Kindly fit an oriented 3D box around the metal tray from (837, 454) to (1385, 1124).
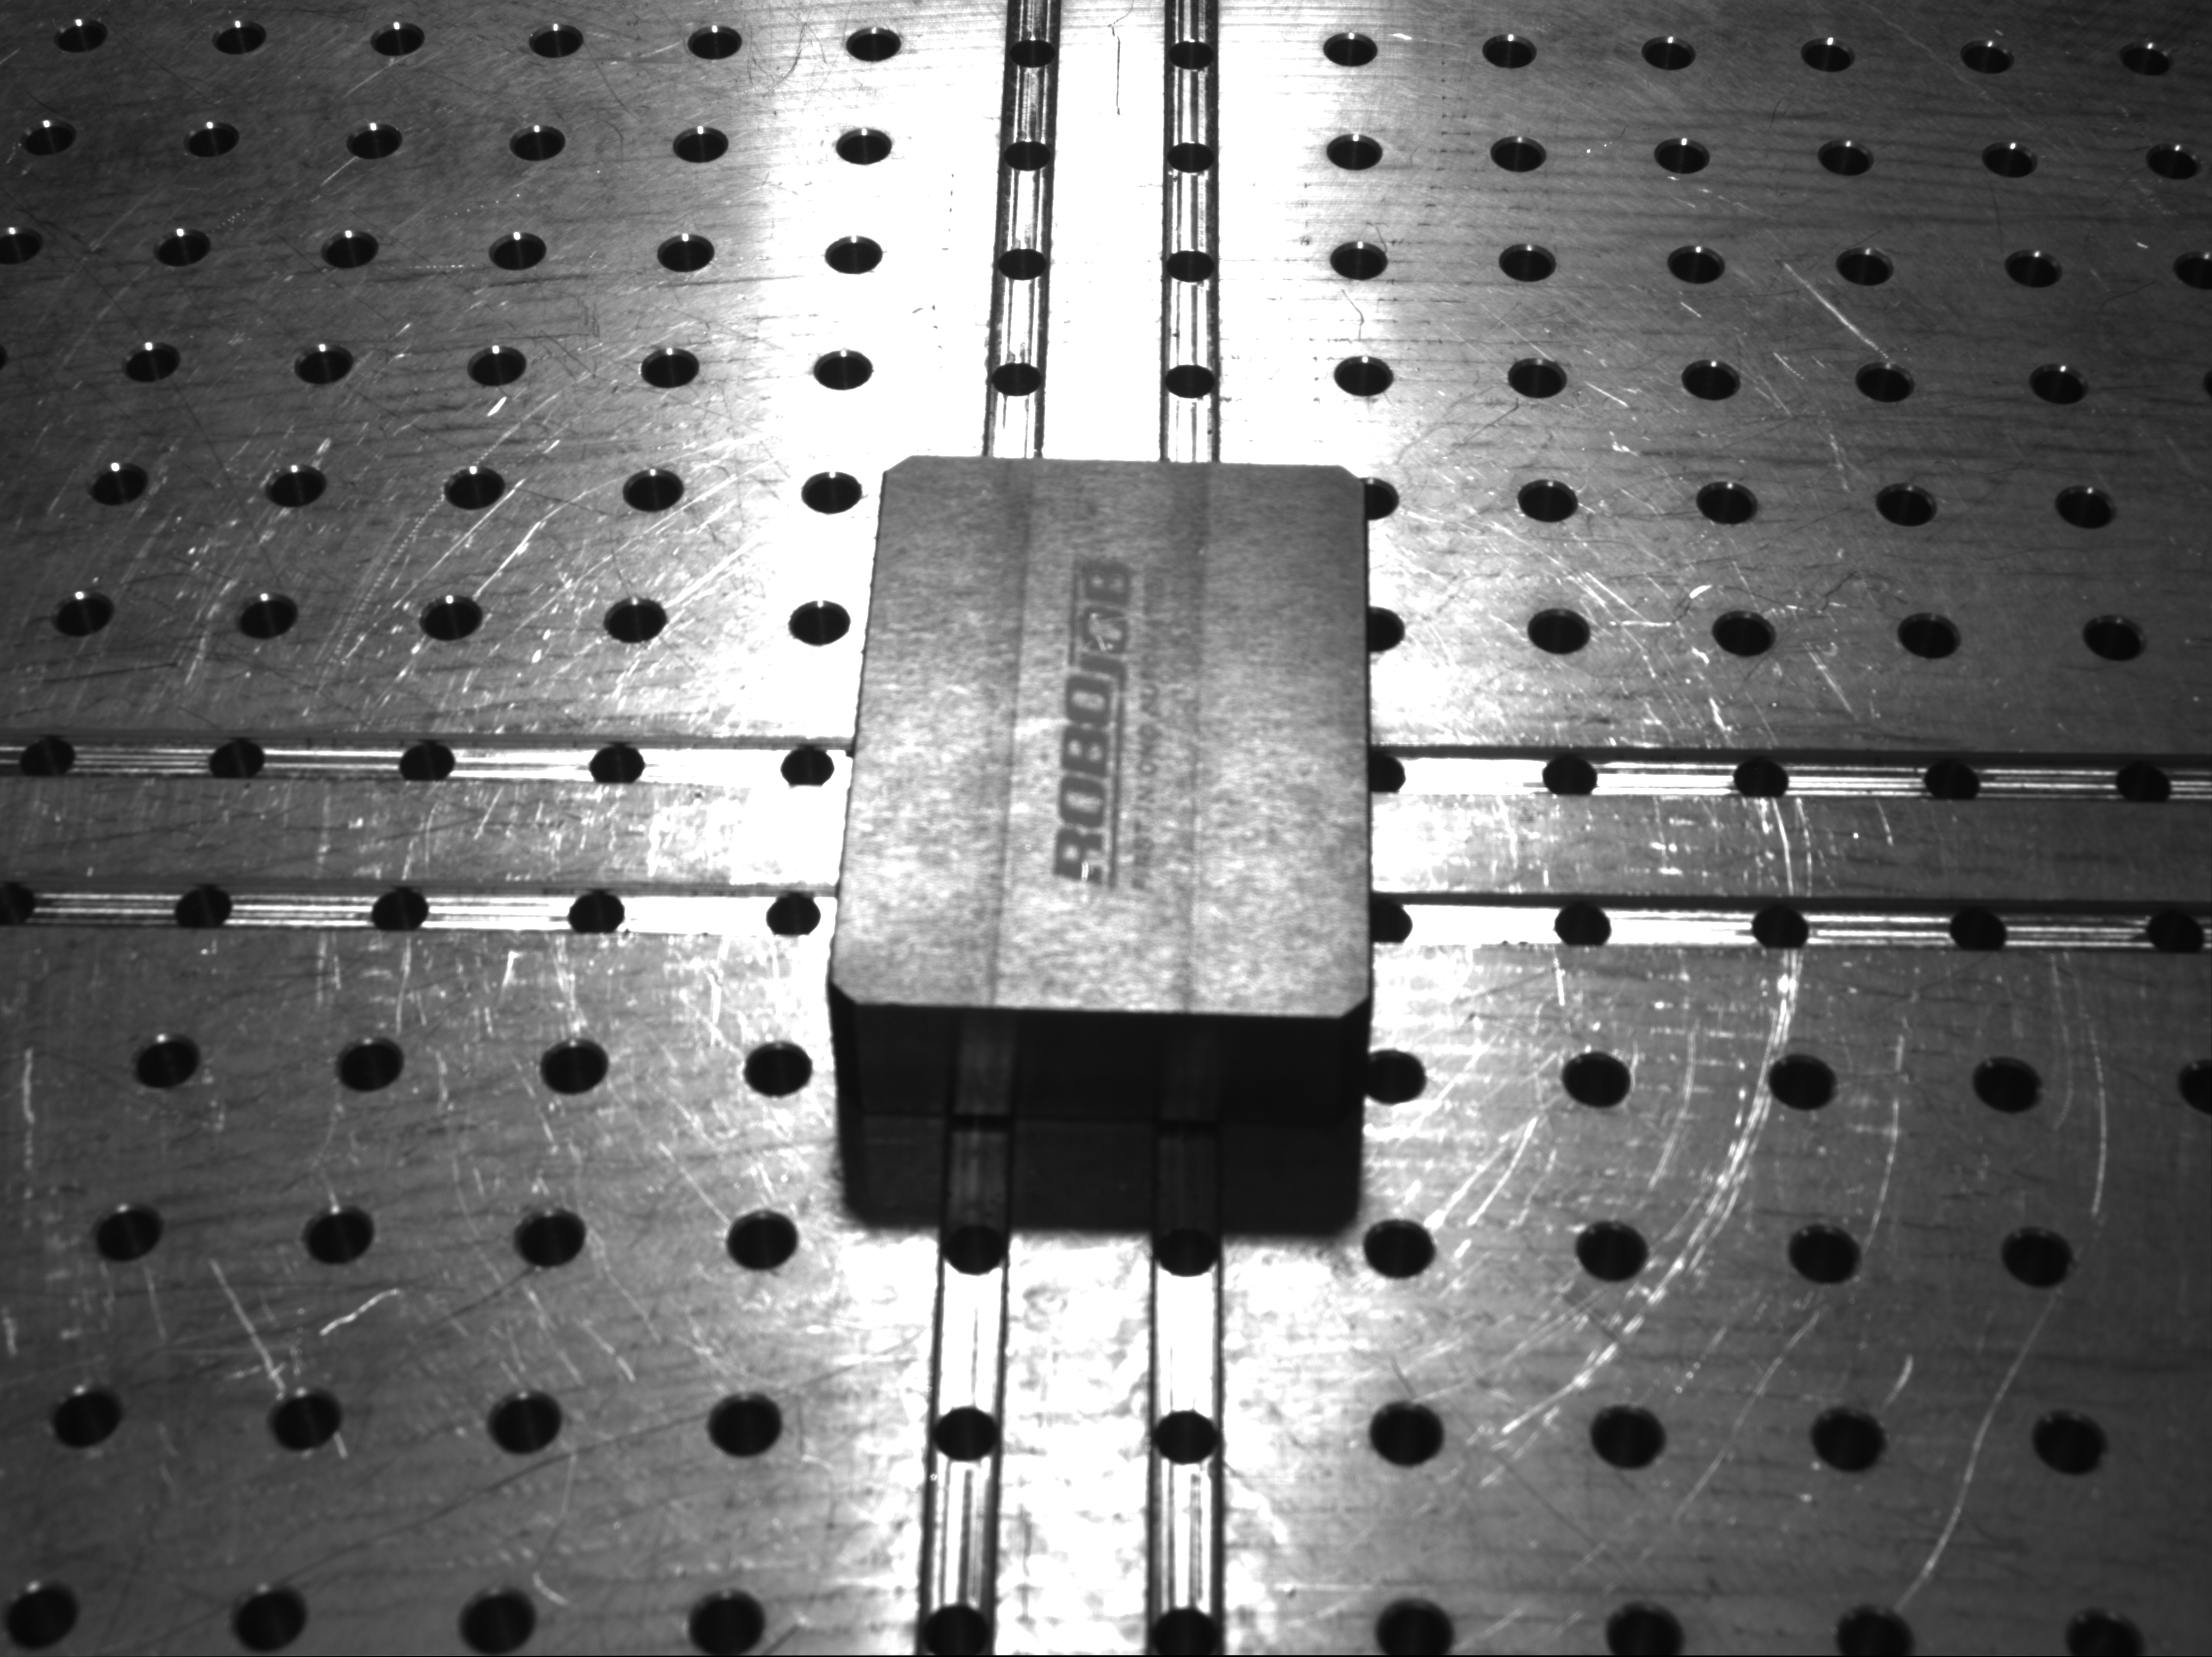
[{"bbox_3d":[0.003,-0.010,0.649,0.090,0.030,0.130,2,50,1],"label":"metal tray"}]
